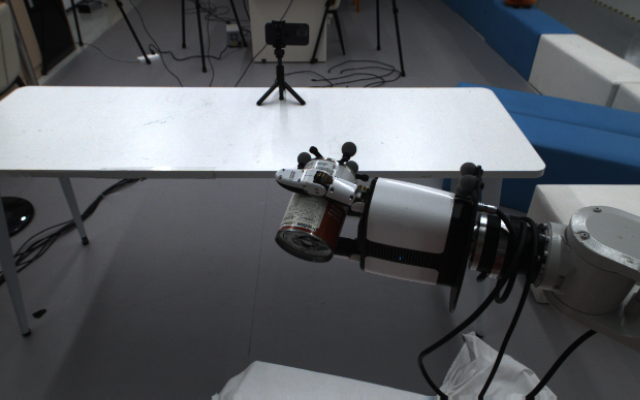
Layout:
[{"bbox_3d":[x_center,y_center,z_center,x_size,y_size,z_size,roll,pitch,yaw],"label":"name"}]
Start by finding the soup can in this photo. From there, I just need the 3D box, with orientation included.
[{"bbox_3d":[-0.002,0.009,0.552,0.067,0.067,0.101,12,59,14],"label":"soup can"}]
